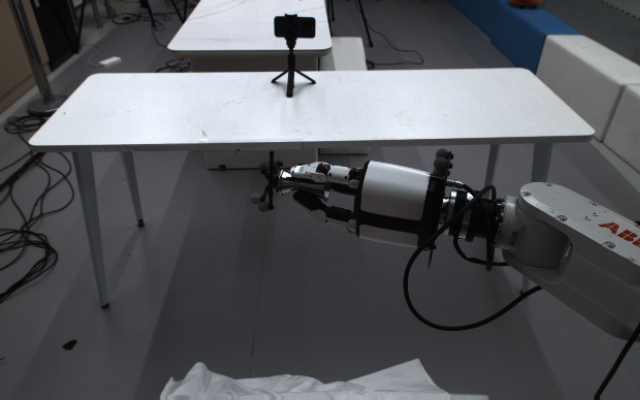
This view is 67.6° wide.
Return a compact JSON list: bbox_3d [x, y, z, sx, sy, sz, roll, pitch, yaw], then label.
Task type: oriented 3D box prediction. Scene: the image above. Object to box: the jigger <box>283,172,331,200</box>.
[{"bbox_3d":[-0.015,-0.027,0.695,0.071,0.043,0.043,5,35,12],"label":"jigger"}]
